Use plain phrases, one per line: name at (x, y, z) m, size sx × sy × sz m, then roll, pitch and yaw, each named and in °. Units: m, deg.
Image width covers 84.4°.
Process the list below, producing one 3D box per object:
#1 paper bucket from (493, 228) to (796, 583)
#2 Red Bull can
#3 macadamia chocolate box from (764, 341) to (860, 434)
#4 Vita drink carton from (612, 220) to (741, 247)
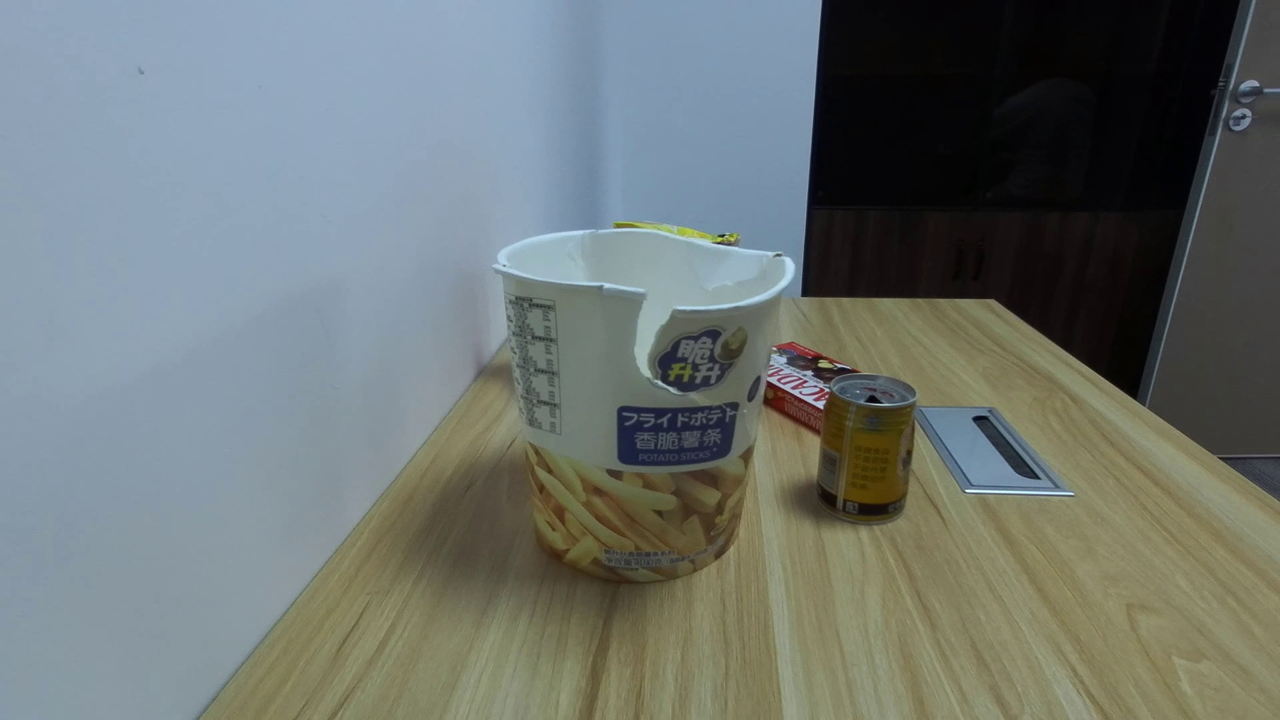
paper bucket at (0.000, 0.023, 0.468) m, size 0.201 × 0.197 × 0.146 m, roll 16°, pitch 28°, yaw 36°
Red Bull can at (0.164, 0.062, 0.512) m, size 0.068 × 0.093 × 0.068 m, roll -1°, pitch 21°, yaw 1°
macadamia chocolate box at (0.171, 0.028, 0.703) m, size 0.096 × 0.027 × 0.177 m, roll -12°, pitch 24°, yaw -26°
Vita drink carton at (0.036, -0.111, 0.702) m, size 0.107 × 0.042 × 0.087 m, roll 18°, pitch 19°, yaw 40°
